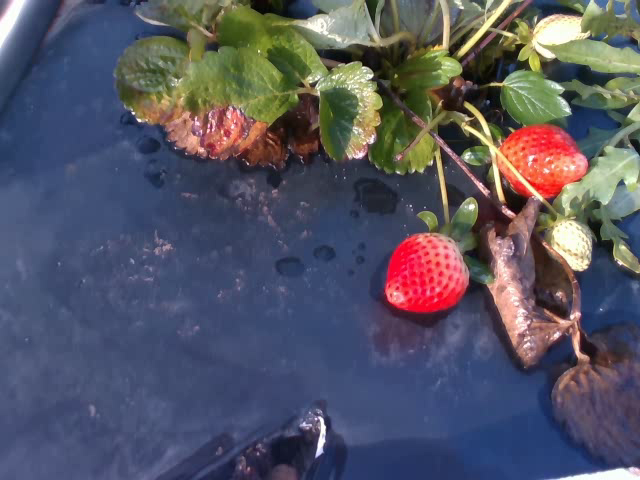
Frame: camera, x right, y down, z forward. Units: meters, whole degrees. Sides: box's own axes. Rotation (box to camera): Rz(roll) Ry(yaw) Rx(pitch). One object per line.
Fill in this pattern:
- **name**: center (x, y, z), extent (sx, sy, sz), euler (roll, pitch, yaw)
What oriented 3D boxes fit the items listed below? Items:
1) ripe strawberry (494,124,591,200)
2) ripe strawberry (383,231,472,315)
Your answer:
- **ripe strawberry**: center (0.103, -0.039, 0.274), extent (0.039, 0.032, 0.048), euler (-18, 13, -15)
- **ripe strawberry**: center (0.039, 0.013, 0.237), extent (0.035, 0.030, 0.043), euler (38, 56, 24)
